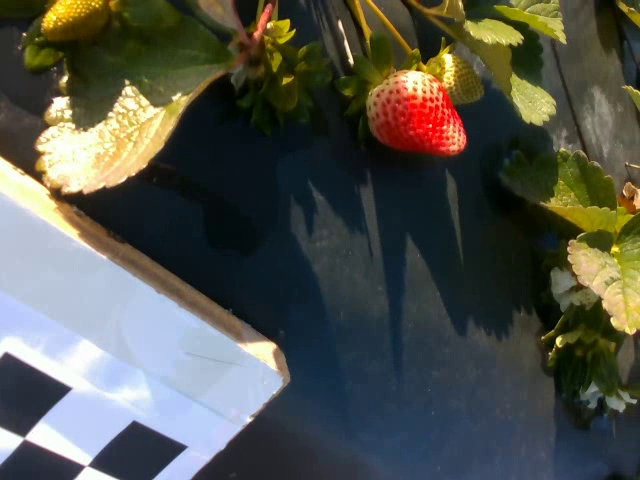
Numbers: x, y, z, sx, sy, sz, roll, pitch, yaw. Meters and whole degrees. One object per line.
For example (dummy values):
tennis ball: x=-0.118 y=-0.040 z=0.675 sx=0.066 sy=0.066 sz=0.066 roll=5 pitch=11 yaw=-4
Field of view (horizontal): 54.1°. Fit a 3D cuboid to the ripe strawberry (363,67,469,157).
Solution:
ripe strawberry: x=0.035 y=-0.042 z=0.218 sx=0.045 sy=0.037 sz=0.042 roll=40 pitch=21 yaw=34
